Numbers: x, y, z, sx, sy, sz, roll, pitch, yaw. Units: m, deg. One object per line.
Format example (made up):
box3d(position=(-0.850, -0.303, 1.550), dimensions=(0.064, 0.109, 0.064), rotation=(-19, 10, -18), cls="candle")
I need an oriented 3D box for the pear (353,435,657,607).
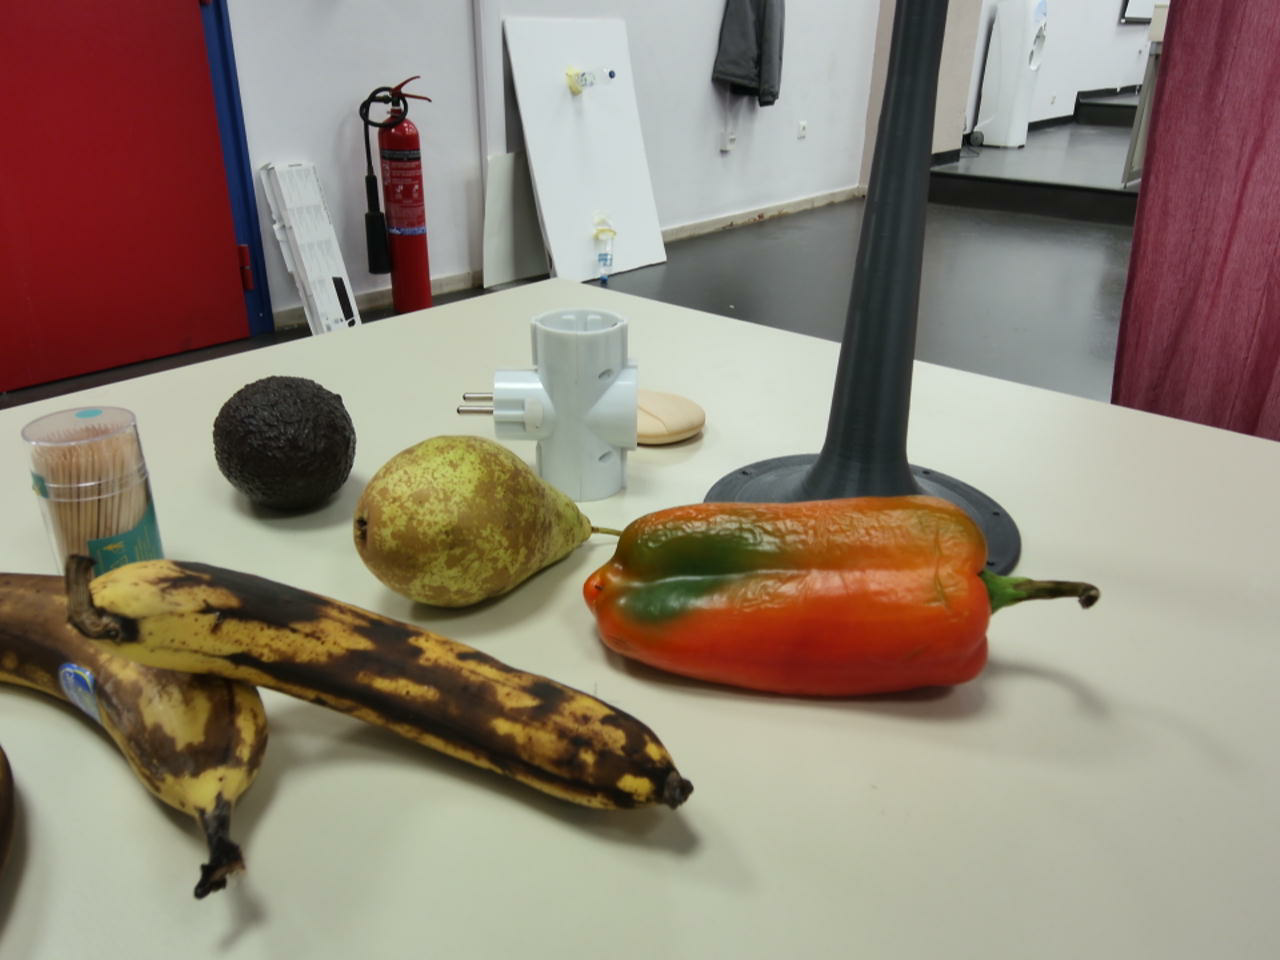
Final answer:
box3d(position=(-0.063, 0.010, 0.430), dimensions=(0.071, 0.075, 0.128), rotation=(12, 27, 29), cls="pear")
